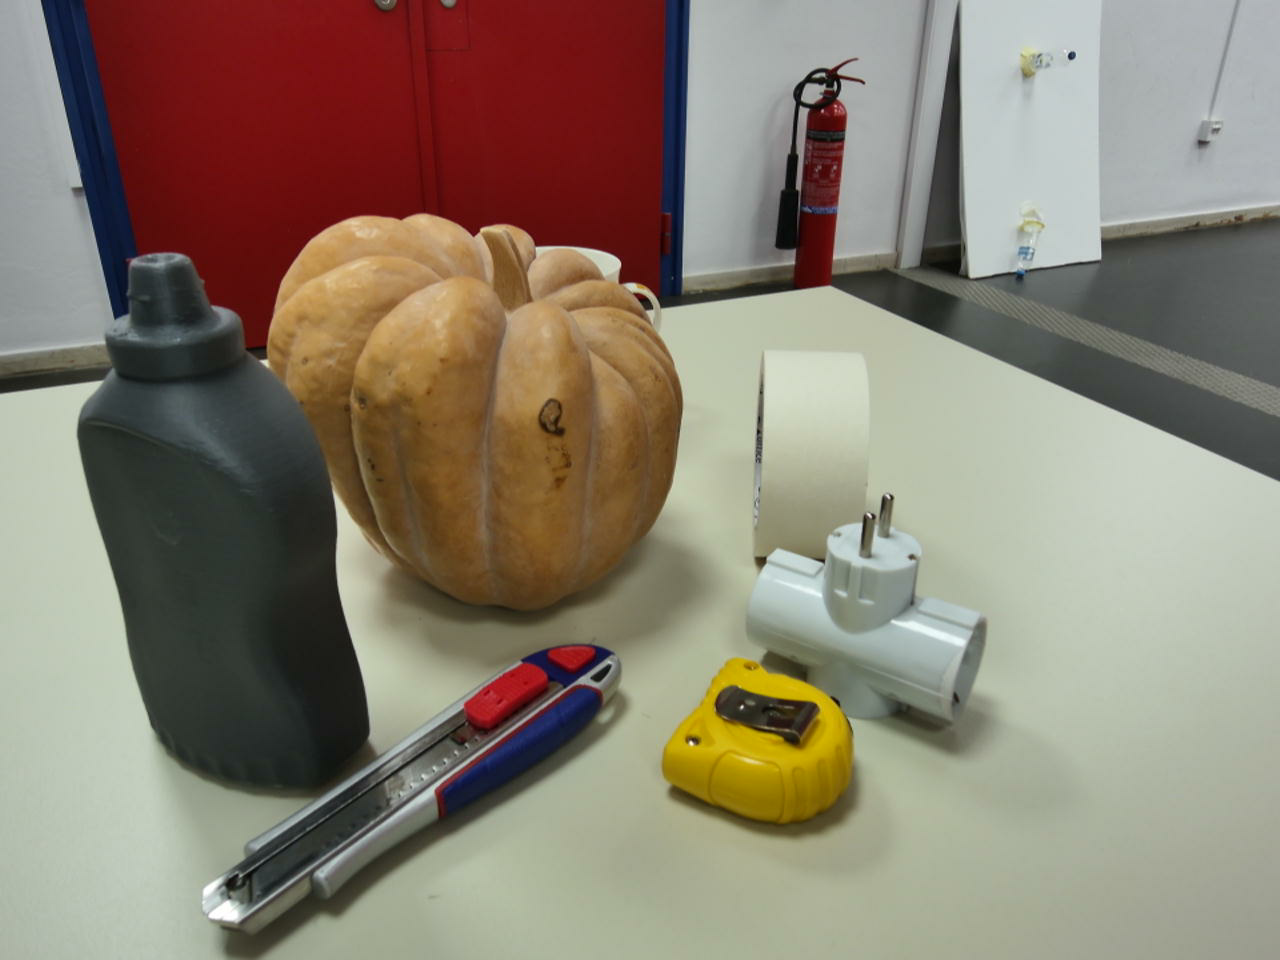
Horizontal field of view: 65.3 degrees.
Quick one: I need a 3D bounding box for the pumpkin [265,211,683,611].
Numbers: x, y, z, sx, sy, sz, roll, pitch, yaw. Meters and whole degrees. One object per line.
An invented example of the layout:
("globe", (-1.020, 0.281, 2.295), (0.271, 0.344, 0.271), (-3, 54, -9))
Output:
("pumpkin", (-0.074, -0.035, 0.474), (0.199, 0.177, 0.198), (0, 26, 0))
